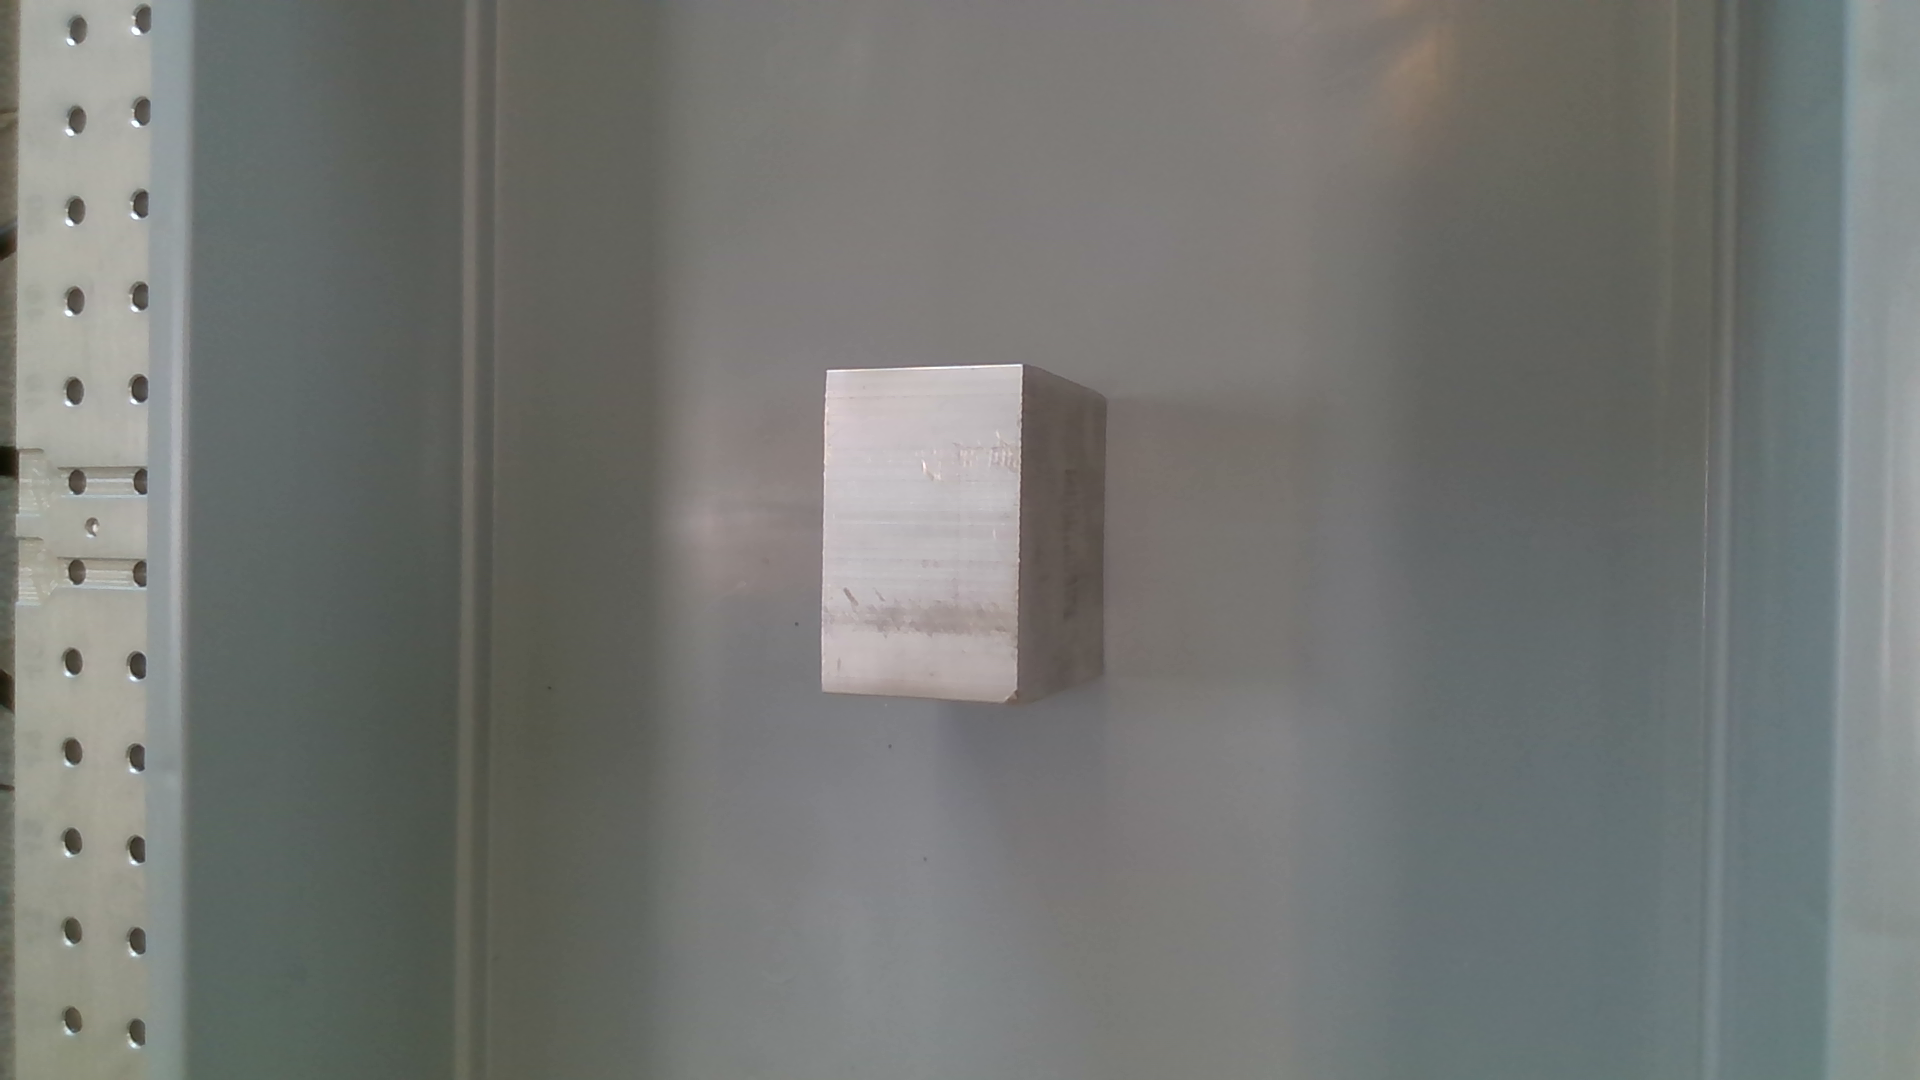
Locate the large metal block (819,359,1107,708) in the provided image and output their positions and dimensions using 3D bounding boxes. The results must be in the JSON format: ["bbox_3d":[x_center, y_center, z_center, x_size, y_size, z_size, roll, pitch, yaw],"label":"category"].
[{"bbox_3d":[0.004,-0.002,0.361,0.050,0.080,0.080,1,91,20],"label":"large metal block"}]
